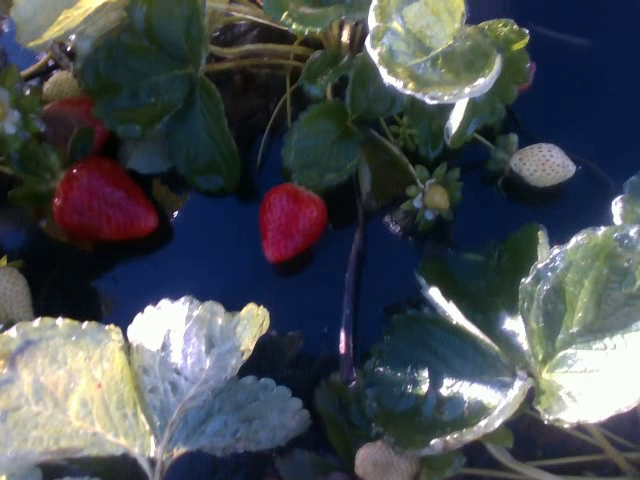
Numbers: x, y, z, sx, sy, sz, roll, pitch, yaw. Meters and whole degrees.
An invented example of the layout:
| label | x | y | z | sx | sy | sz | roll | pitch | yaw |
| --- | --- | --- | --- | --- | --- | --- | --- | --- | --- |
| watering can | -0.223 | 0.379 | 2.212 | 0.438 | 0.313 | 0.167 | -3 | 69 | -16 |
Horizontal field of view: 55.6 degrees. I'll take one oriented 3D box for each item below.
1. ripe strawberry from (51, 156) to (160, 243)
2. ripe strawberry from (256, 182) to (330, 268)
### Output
| label | x | y | z | sx | sy | sz | roll | pitch | yaw |
| --- | --- | --- | --- | --- | --- | --- | --- | --- | --- |
| ripe strawberry | -0.107 | -0.016 | 0.301 | 0.056 | 0.044 | 0.040 | 29 | -3 | 0 |
| ripe strawberry | -0.014 | -0.006 | 0.289 | 0.039 | 0.047 | 0.040 | 18 | -14 | -1 |
